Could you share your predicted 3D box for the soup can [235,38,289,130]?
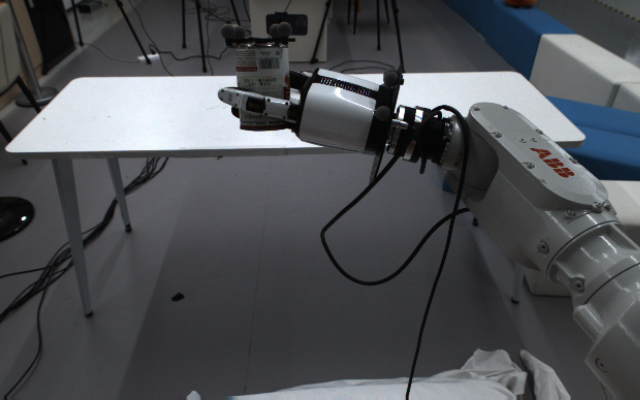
[{"bbox_3d":[-0.070,-0.141,0.606,0.067,0.101,0.067,-1,17,0],"label":"soup can"}]
